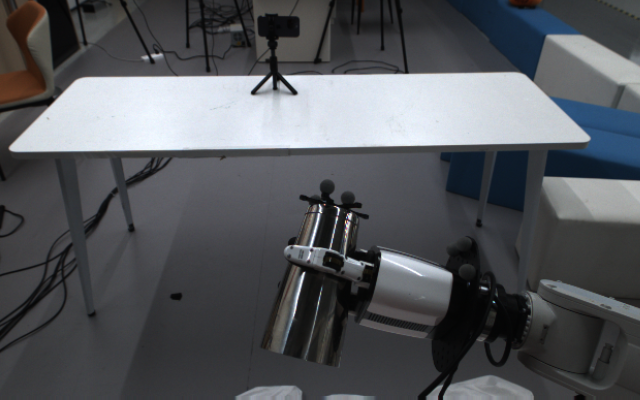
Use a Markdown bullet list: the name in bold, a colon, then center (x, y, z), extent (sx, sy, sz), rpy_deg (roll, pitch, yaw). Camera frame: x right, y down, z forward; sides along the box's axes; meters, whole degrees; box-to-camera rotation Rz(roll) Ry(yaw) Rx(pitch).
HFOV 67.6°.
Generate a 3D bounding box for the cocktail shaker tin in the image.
- **cocktail shaker tin**: center (-0.004, 0.097, 0.562), extent (0.093, 0.093, 0.170), rpy_deg (11, 74, 13)
